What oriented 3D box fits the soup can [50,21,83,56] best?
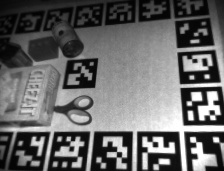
[{"bbox_3d":[-0.145,-0.150,0.686,0.068,0.068,0.101,-37,59,-3],"label":"soup can"}]

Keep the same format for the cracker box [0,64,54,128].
[{"bbox_3d":[-0.283,0.030,0.613,0.212,0.073,0.163,-9,65,14],"label":"cracker box"}]

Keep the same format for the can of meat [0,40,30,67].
[{"bbox_3d":[-0.325,-0.095,0.683,0.101,0.084,0.058,11,71,17],"label":"can of meat"}]

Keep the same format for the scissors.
[{"bbox_3d":[-0.165,0.069,0.605,0.202,0.016,0.087,-7,67,10],"label":"scissors"}]

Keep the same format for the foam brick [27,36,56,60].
[{"bbox_3d":[-0.226,-0.121,0.693,0.078,0.052,0.052,-12,66,8],"label":"foam brick"}]
